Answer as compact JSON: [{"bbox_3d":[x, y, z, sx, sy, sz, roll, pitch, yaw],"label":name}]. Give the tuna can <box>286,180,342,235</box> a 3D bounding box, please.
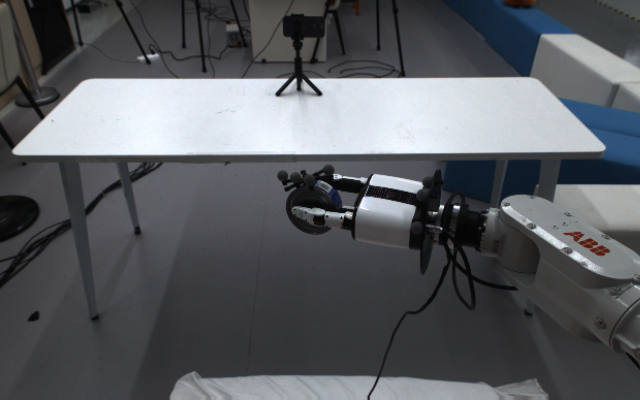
[{"bbox_3d":[-0.007,0.015,0.771,0.085,0.085,0.034,13,28,15],"label":"tuna can"}]
